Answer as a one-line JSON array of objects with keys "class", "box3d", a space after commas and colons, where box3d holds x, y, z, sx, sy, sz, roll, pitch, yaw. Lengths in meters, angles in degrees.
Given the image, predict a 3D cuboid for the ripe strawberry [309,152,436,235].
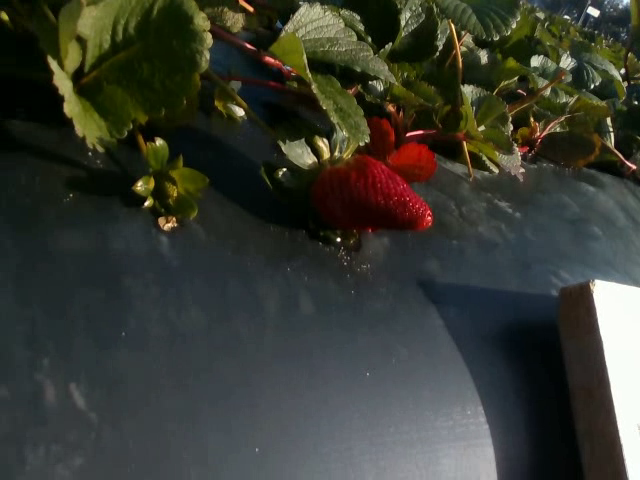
[{"class": "ripe strawberry", "box3d": [0.023, -0.017, 0.249, 0.056, 0.041, 0.041, 22, 52, 25]}]
